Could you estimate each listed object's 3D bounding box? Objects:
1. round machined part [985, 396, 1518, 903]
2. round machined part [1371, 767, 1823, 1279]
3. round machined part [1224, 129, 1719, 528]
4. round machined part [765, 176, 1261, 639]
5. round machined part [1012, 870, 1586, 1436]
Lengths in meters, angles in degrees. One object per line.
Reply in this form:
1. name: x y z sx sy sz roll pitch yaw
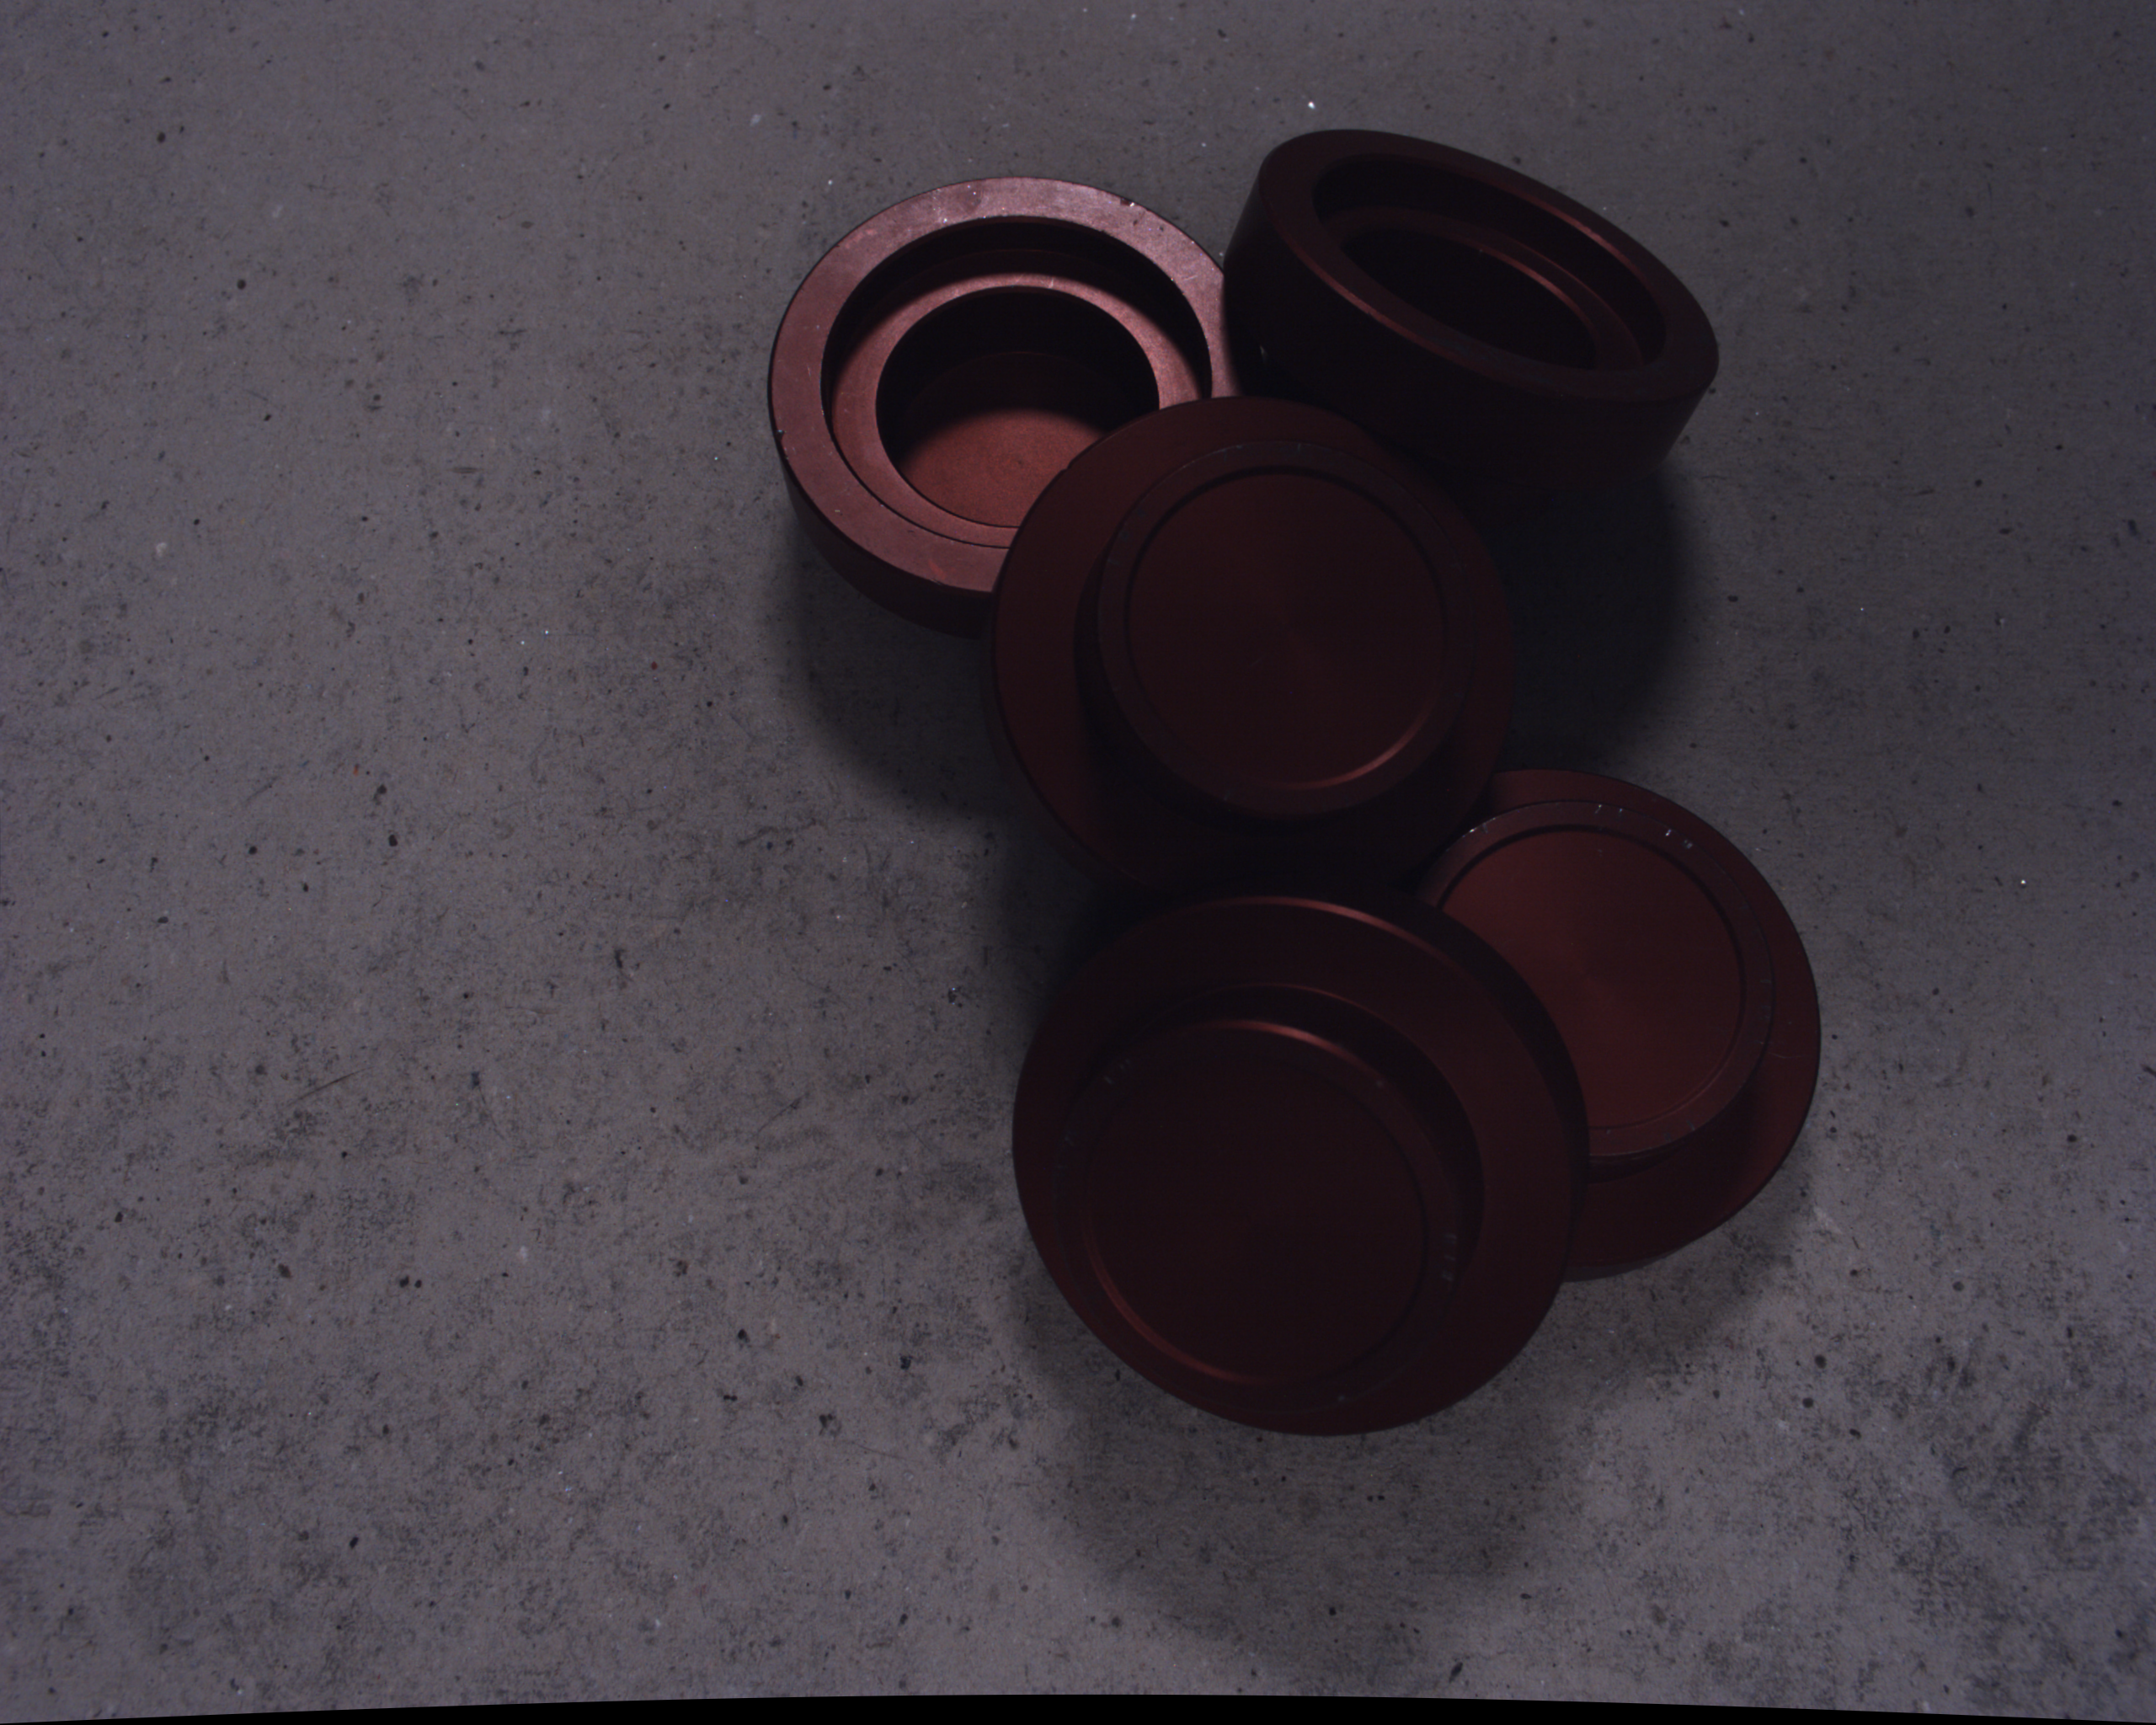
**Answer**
1. round machined part: 0.033 -0.039 0.380 0.099 0.042 0.097 1 80 -8
2. round machined part: 0.091 0.027 0.391 0.099 0.042 0.098 0 70 -1
3. round machined part: 0.076 -0.105 0.425 0.099 0.042 0.098 13 42 -12
4. round machined part: -0.013 -0.089 0.433 0.099 0.042 0.098 0 70 -1
5. round machined part: 0.034 0.053 0.354 0.098 0.042 0.097 5 105 18
